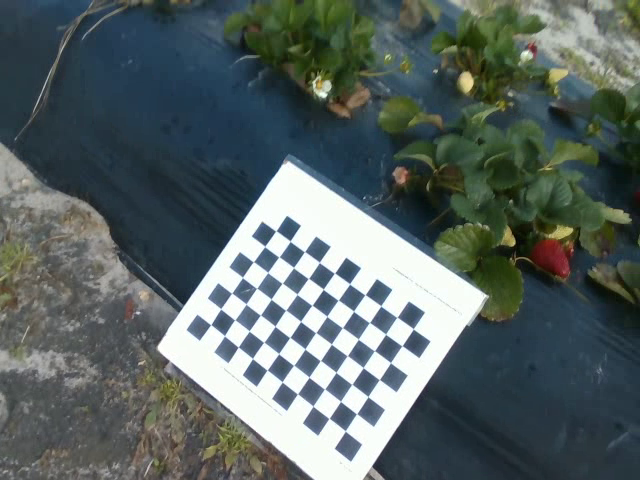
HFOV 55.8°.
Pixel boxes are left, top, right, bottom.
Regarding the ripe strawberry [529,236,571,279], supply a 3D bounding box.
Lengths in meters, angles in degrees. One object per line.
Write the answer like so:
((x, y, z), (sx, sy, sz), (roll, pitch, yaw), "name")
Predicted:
((0.264, 0.017, 0.660), (0.050, 0.064, 0.043), (-24, -15, 7), "ripe strawberry")
